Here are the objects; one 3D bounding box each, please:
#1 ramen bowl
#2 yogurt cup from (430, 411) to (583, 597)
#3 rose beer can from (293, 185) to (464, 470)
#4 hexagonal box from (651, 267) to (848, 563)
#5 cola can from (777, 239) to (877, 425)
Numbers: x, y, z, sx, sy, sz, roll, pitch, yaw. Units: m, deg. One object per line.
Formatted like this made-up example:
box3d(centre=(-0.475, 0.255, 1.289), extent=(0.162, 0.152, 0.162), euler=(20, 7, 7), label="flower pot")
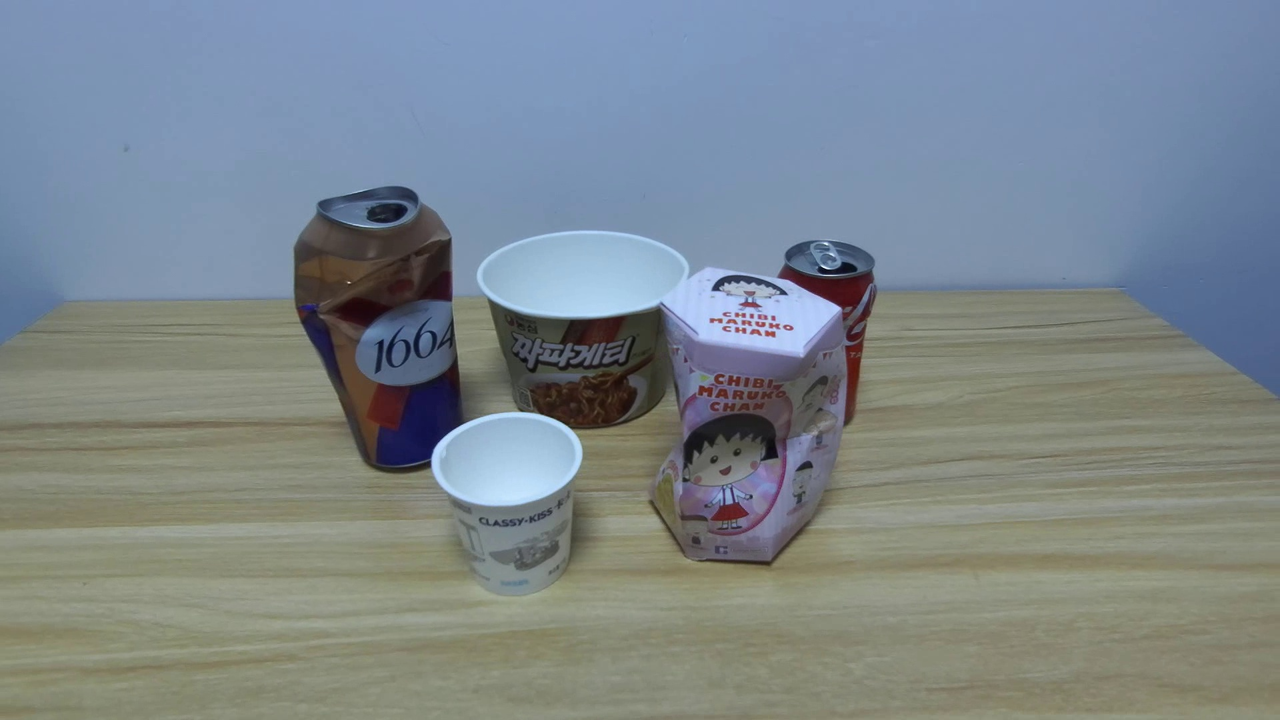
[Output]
box3d(centre=(-0.036, -0.021, 0.486), extent=(0.140, 0.095, 0.140), euler=(1, 30, 0), label="ramen bowl")
box3d(centre=(-0.063, 0.074, 0.355), extent=(0.072, 0.068, 0.072), euler=(0, 31, 0), label="yogurt cup")
box3d(centre=(-0.145, -0.016, 0.414), extent=(0.068, 0.162, 0.073), euler=(4, 33, 5), label="rose beer can")
box3d(centre=(0.048, 0.030, 0.365), extent=(0.089, 0.135, 0.093), euler=(-15, 34, -25), label="hexagonal box")
box3d(centre=(0.117, -0.018, 0.467), extent=(0.066, 0.117, 0.066), euler=(13, 37, 20), label="cola can")
